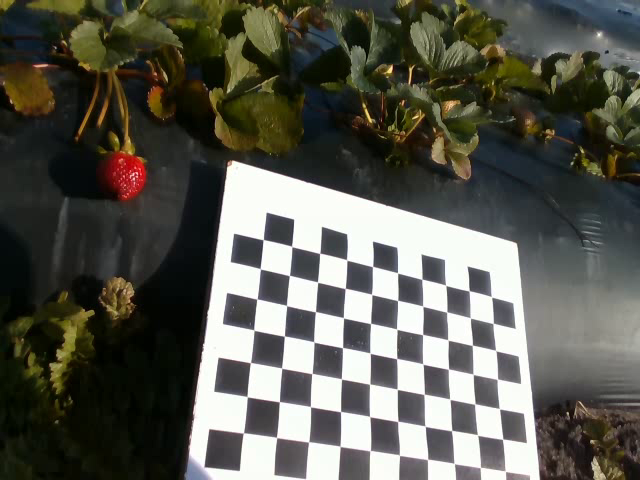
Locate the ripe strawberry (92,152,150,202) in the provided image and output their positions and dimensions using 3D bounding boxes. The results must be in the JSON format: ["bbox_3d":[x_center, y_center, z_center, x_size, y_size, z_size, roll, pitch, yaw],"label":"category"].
[{"bbox_3d":[-0.134,-0.041,0.501,0.040,0.044,0.036,-6,-32,-30],"label":"ripe strawberry"}]
